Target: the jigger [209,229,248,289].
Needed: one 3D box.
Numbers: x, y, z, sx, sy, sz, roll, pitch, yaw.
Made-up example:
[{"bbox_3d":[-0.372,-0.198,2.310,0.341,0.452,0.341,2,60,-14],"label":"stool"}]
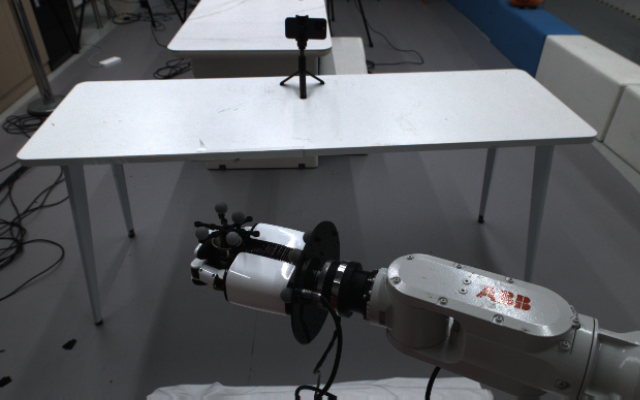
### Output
[{"bbox_3d":[-0.125,0.084,0.661,0.043,0.071,0.043,5,26,-3],"label":"jigger"}]
